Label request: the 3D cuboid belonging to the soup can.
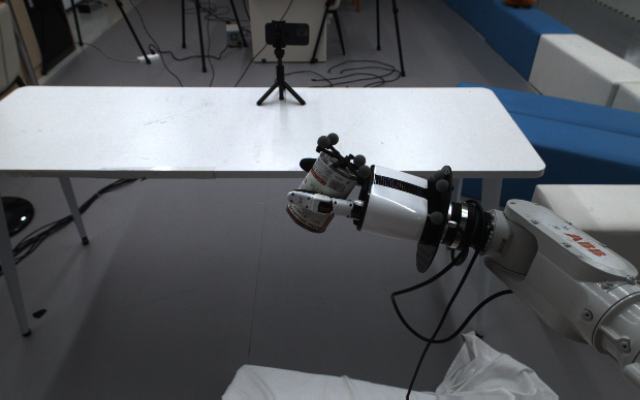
[{"bbox_3d":[0.005,-0.011,0.699,0.067,0.101,0.067,28,22,-12],"label":"soup can"}]
